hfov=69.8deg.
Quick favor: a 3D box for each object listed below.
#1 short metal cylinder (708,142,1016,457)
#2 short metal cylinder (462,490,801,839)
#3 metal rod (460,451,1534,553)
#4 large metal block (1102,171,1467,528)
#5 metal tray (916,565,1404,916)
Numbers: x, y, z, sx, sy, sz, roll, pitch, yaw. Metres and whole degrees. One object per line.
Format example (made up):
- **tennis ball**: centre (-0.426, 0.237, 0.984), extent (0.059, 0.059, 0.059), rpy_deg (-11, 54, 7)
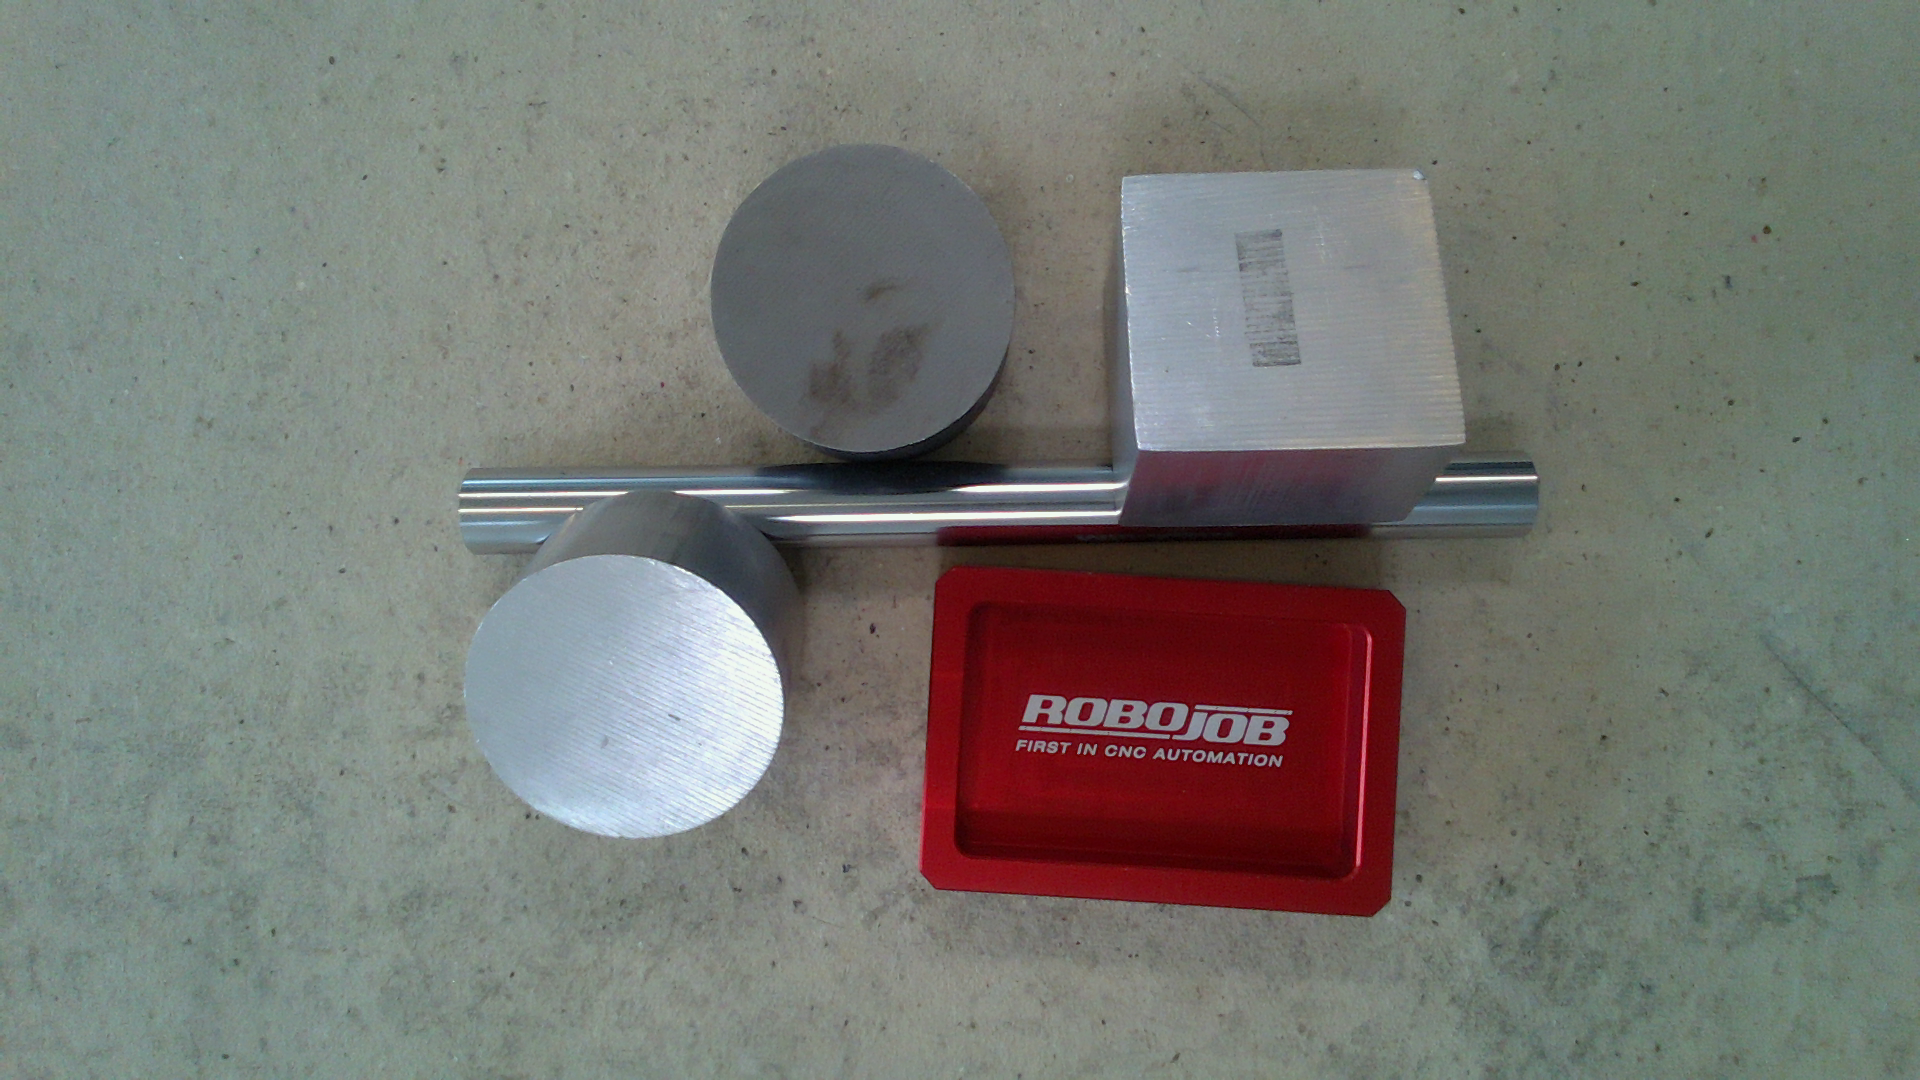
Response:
- **short metal cylinder**: centre (-0.025, -0.063, 0.383), extent (0.080, 0.050, 0.080), rpy_deg (0, 90, 0)
- **short metal cylinder**: centre (-0.085, 0.032, 0.370), extent (0.080, 0.050, 0.080), rpy_deg (0, 111, -1)
- **metal rod**: centre (0.011, -0.011, 0.396), extent (0.300, 0.025, 0.025), rpy_deg (-1, 90, 0)
- **large metal block**: centre (0.082, -0.050, 0.371), extent (0.080, 0.050, 0.080), rpy_deg (-1, 69, 0)
- **metal tray**: centre (0.055, 0.055, 0.392), extent (0.130, 0.030, 0.090), rpy_deg (3, 90, 0)
